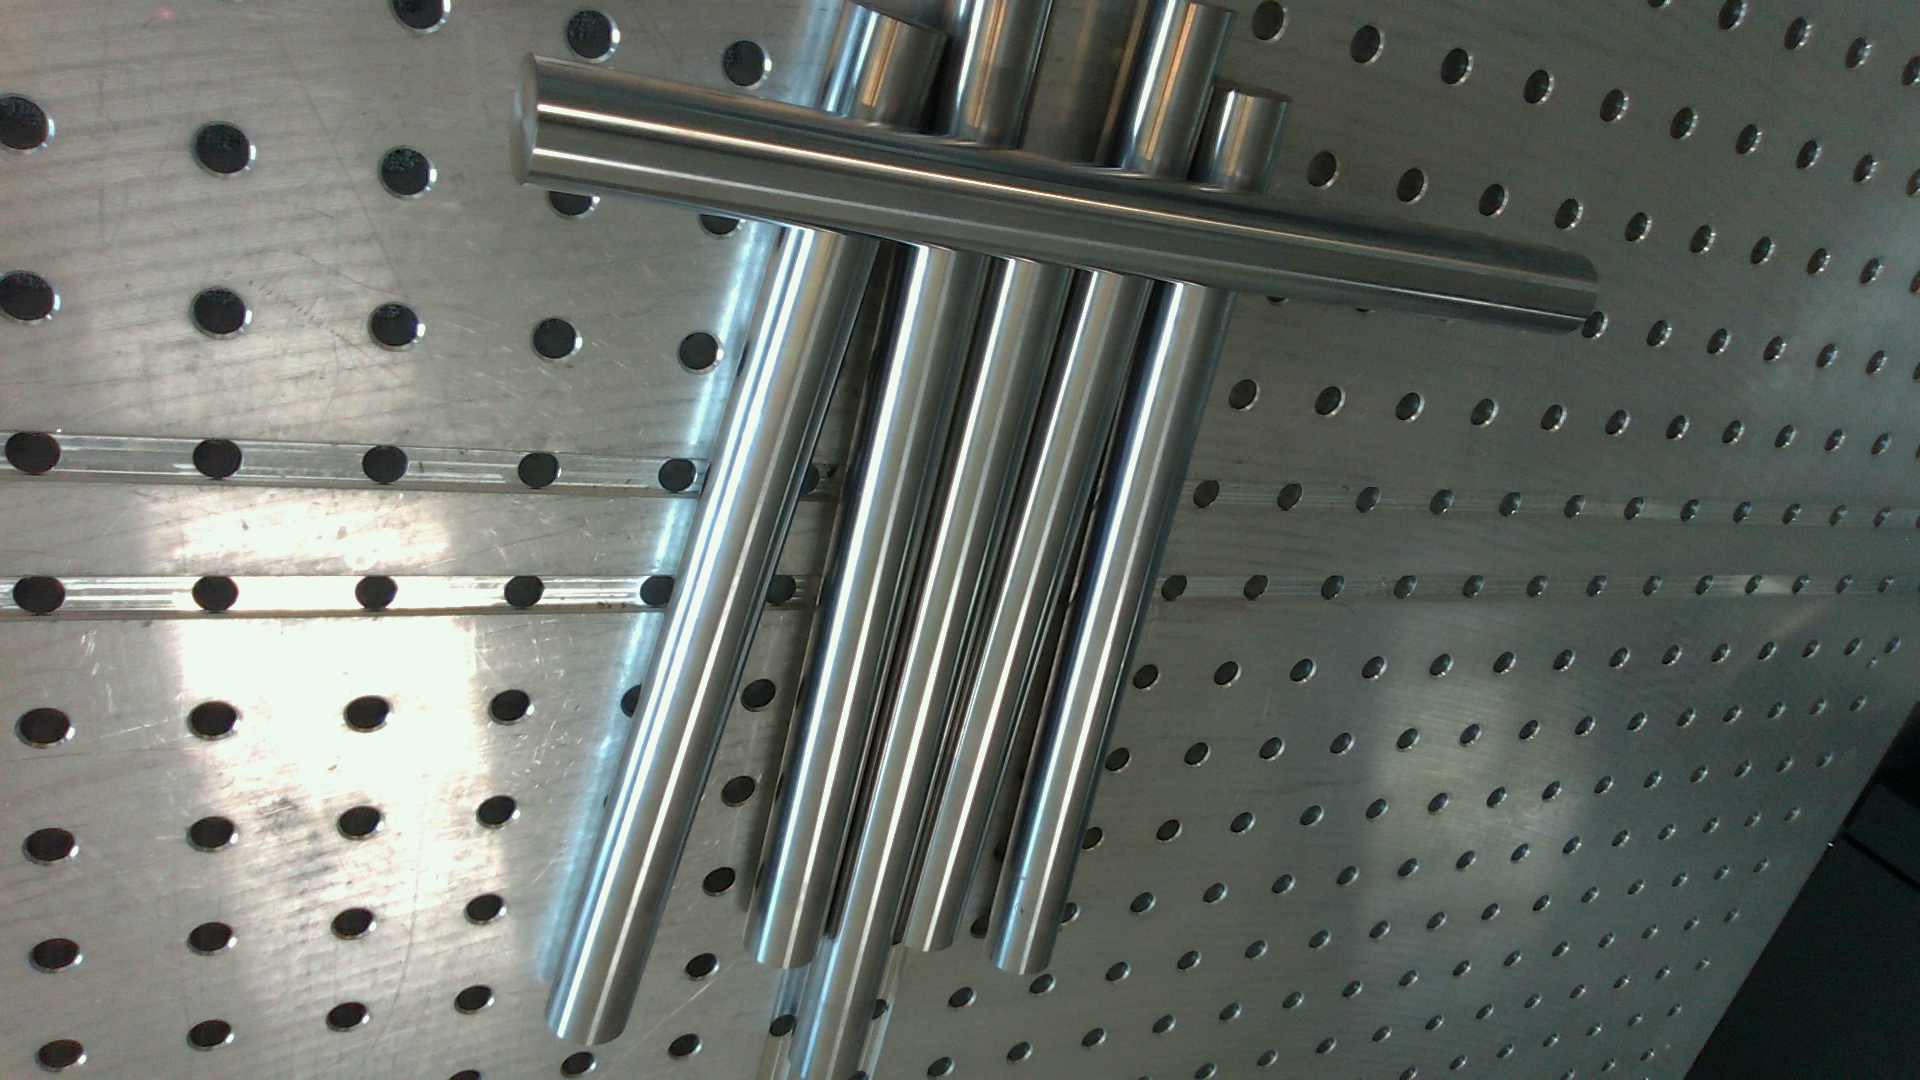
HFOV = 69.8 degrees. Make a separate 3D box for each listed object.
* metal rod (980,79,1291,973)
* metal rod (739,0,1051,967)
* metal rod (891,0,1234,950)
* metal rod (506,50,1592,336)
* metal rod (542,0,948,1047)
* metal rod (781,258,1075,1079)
[{"bbox_3d":[0.047,0.014,0.426,0.025,0.025,0.300,-3,120,-27],"label":"metal rod"},{"bbox_3d":[-0.023,-0.005,0.377,0.025,0.025,0.300,0,118,-29],"label":"metal rod"},{"bbox_3d":[0.021,-0.002,0.403,0.025,0.025,0.300,1,118,-29],"label":"metal rod"},{"bbox_3d":[0.047,-0.077,0.337,0.301,0.025,0.025,2,118,-29],"label":"metal rod"},{"bbox_3d":[-0.064,0.013,0.364,0.025,0.025,0.300,7,115,-31],"label":"metal rod"},{"bbox_3d":[-0.014,0.045,0.412,0.025,0.025,0.300,1,118,-29],"label":"metal rod"}]
